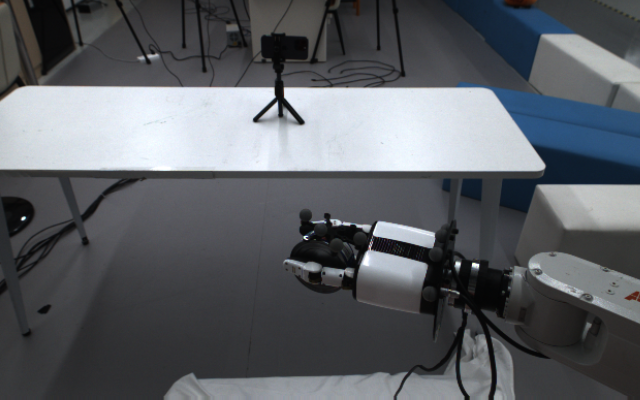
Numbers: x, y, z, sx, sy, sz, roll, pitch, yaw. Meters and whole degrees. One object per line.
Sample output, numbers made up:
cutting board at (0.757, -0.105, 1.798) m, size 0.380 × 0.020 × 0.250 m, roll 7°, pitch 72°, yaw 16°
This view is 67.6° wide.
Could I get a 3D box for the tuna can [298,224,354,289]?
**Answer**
tuna can at (0.006, 0.083, 0.667) m, size 0.085 × 0.085 × 0.034 m, roll 16°, pitch 28°, yaw 19°
